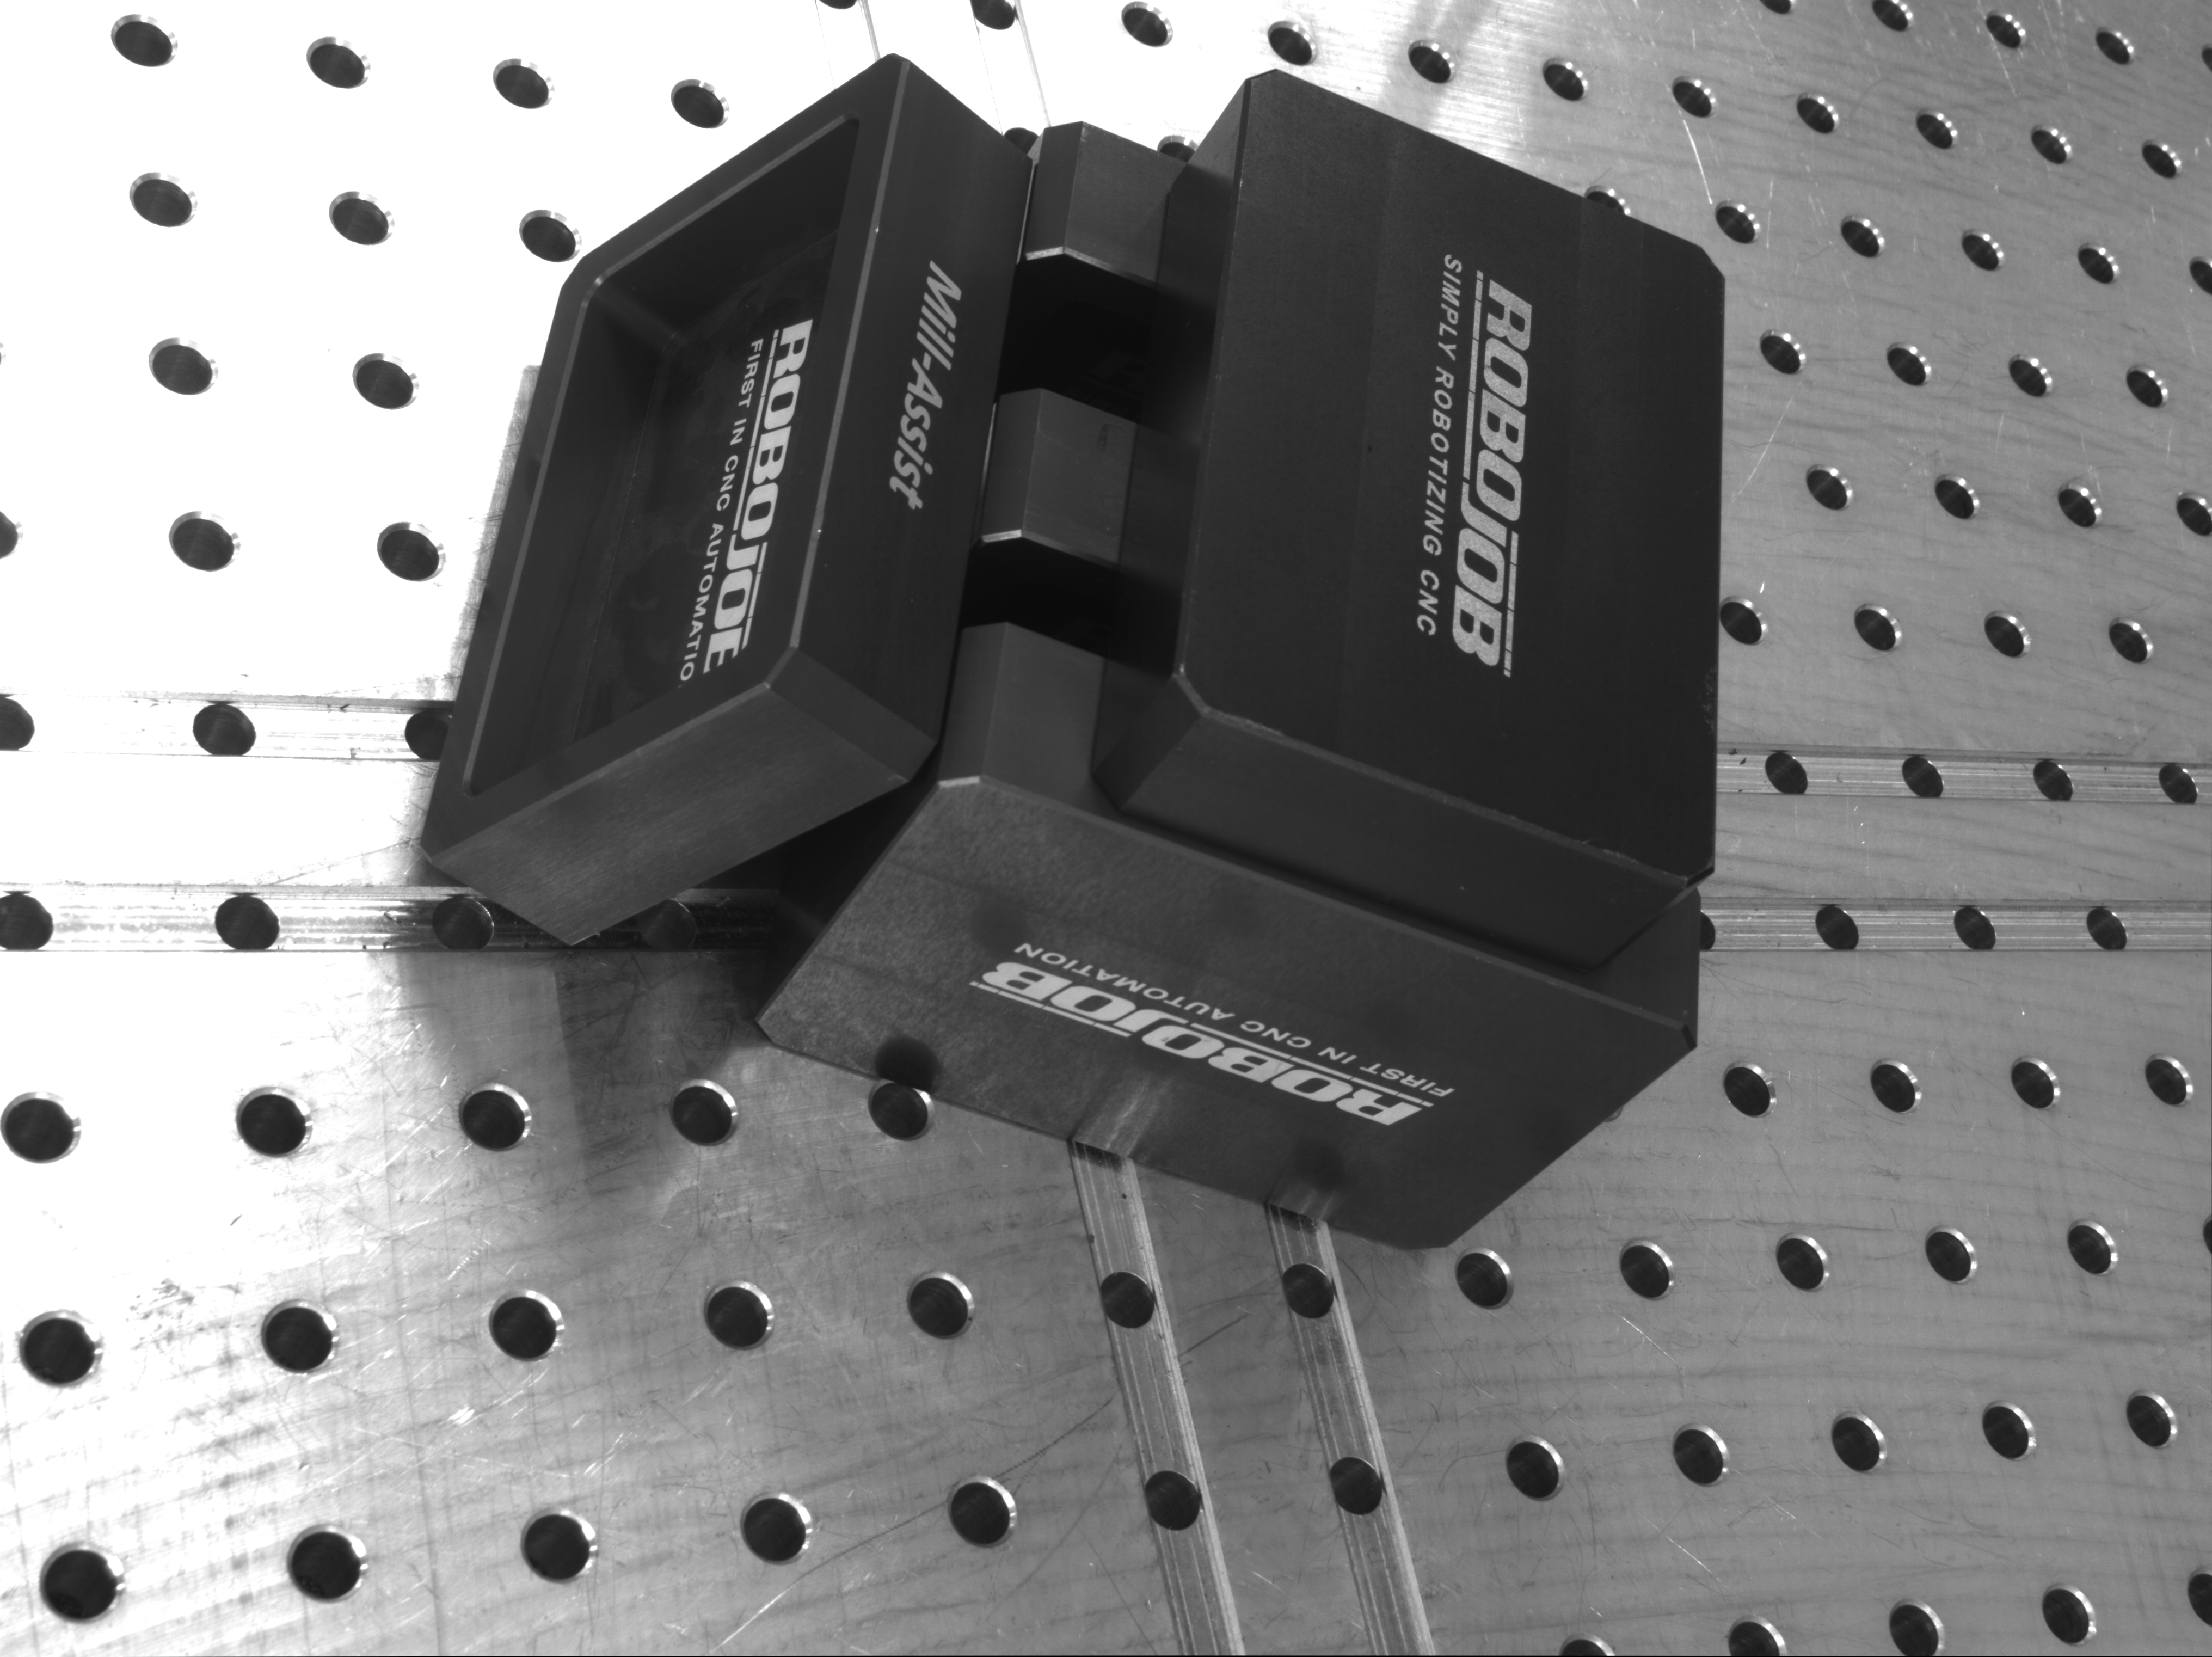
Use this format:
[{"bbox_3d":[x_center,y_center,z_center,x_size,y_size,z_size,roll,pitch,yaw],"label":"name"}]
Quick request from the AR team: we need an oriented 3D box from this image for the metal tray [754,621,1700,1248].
[{"bbox_3d":[0.019,0.021,0.598,0.130,0.090,0.030,20,54,-17],"label":"metal tray"}]

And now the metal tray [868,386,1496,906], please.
[{"bbox_3d":[0.025,-0.018,0.623,0.130,0.090,0.030,19,53,-18],"label":"metal tray"}]

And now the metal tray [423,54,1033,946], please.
[{"bbox_3d":[-0.060,-0.054,0.598,0.030,0.090,0.130,34,47,-34],"label":"metal tray"}]

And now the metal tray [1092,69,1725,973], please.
[{"bbox_3d":[0.051,-0.050,0.580,0.090,0.030,0.130,19,54,-17],"label":"metal tray"}]

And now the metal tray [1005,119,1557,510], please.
[{"bbox_3d":[0.031,-0.067,0.657,0.130,0.090,0.030,19,55,-17],"label":"metal tray"}]
